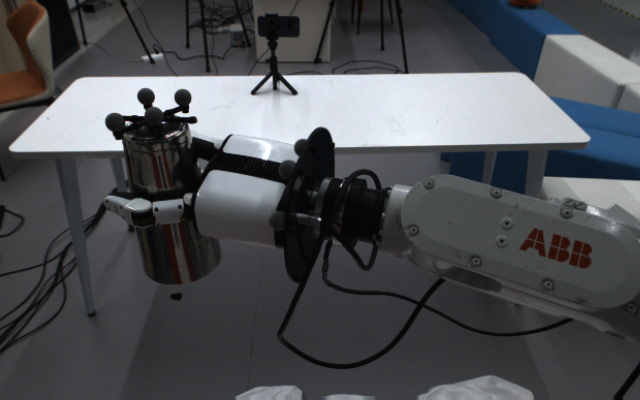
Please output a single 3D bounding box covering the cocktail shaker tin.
[{"bbox_3d":[-0.162,-0.002,0.533,0.093,0.170,0.093,-1,33,0],"label":"cocktail shaker tin"}]
